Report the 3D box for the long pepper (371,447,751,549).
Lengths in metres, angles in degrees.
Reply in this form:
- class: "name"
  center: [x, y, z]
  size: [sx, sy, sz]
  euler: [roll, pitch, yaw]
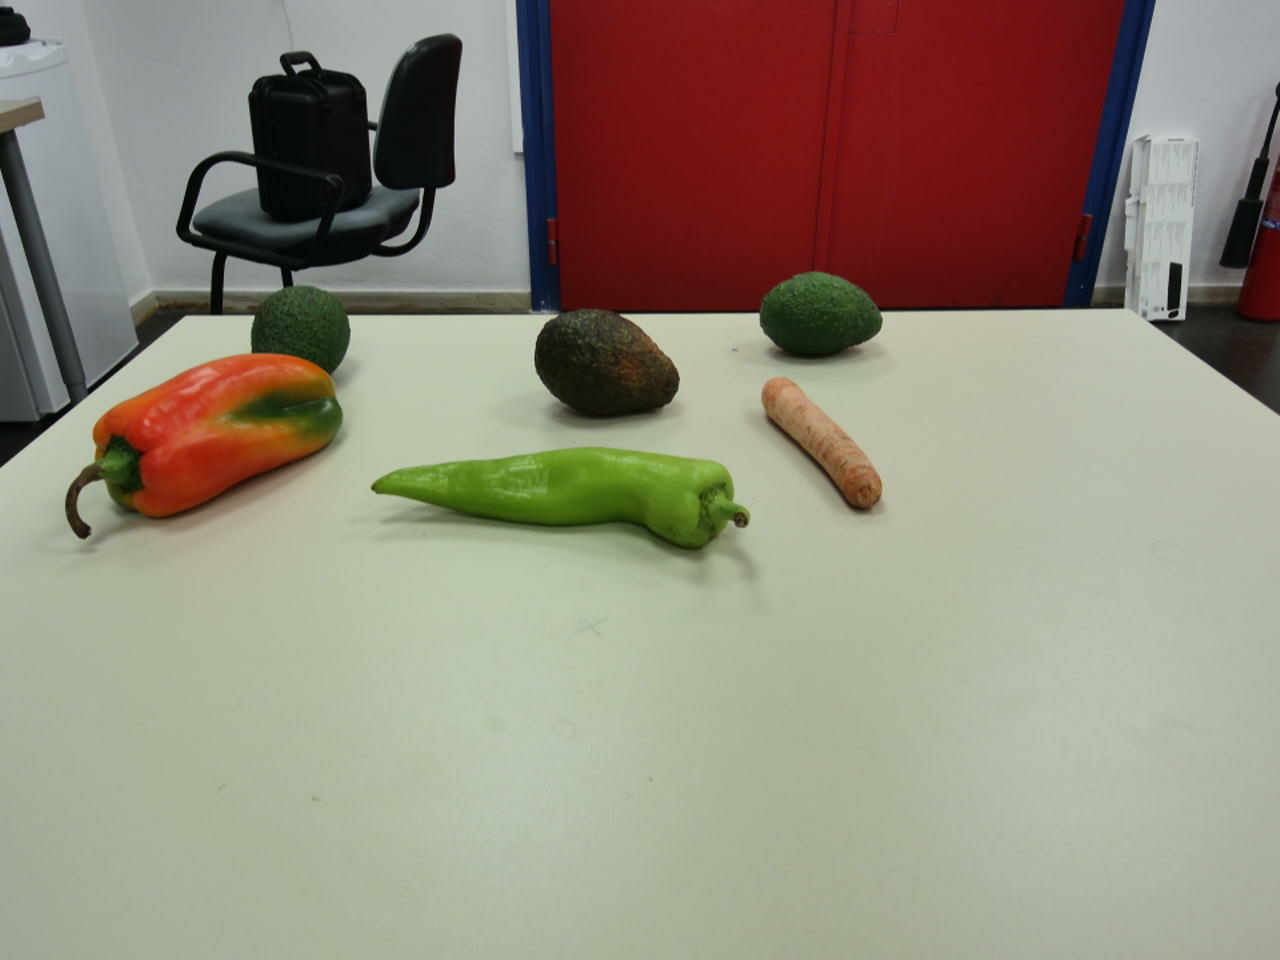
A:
- class: "long pepper"
  center: [-0.037, 0.004, 0.530]
  size: [0.205, 0.045, 0.065]
  euler: [8, 27, 14]
